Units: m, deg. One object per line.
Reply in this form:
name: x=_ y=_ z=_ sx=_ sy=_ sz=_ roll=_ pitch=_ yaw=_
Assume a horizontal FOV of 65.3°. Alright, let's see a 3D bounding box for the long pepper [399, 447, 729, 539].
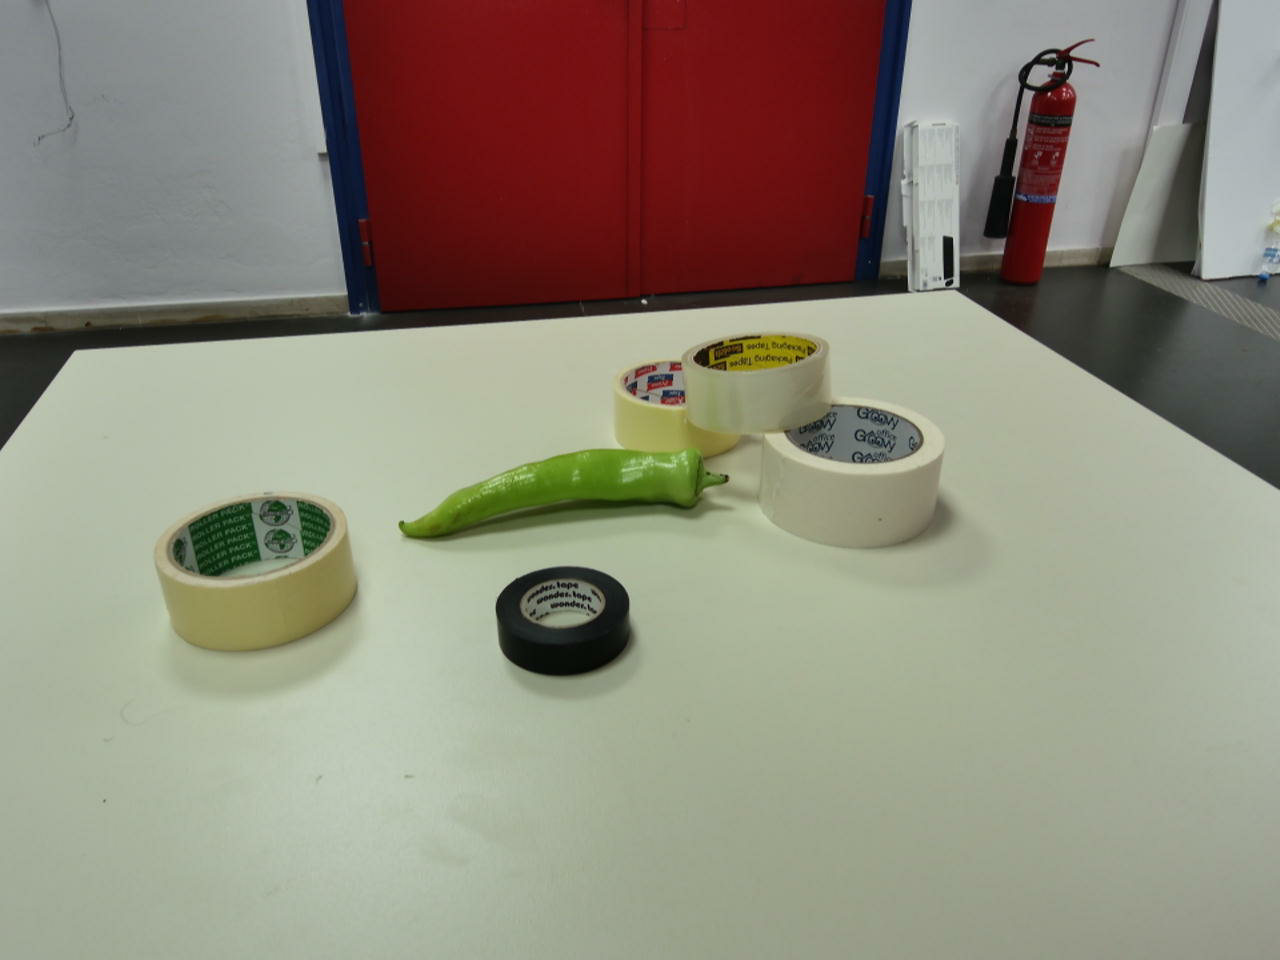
long pepper: x=-0.044 y=0.003 z=0.598 sx=0.197 sy=0.038 sz=0.046 roll=-5 pitch=27 yaw=-9
